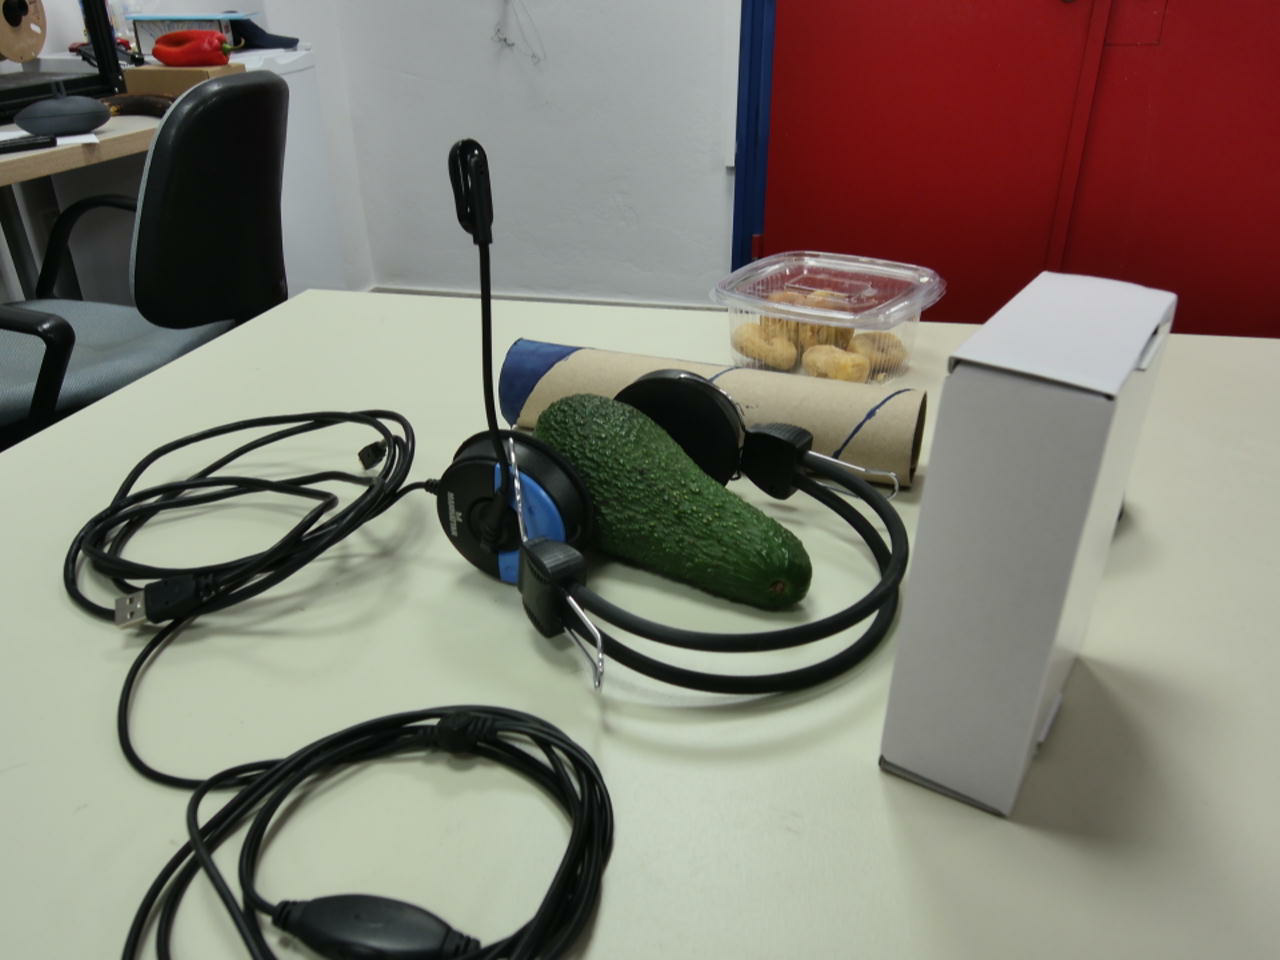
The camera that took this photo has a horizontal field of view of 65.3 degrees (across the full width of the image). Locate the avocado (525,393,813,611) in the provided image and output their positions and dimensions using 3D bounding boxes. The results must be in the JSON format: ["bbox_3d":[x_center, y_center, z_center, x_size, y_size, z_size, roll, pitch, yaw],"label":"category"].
[{"bbox_3d":[0.012,0.004,0.418,0.141,0.067,0.063,12,27,26],"label":"avocado"}]
